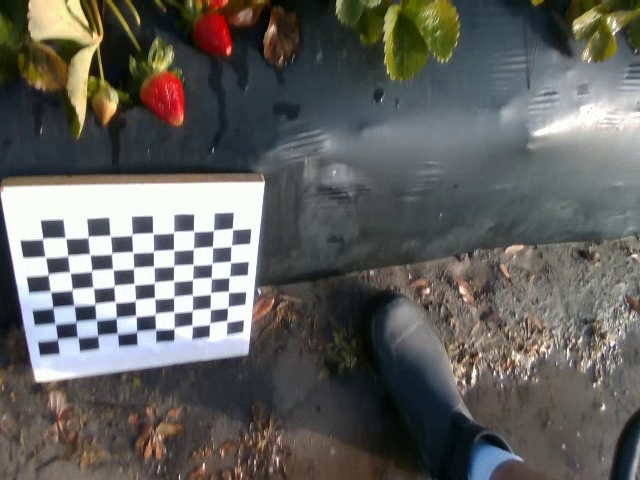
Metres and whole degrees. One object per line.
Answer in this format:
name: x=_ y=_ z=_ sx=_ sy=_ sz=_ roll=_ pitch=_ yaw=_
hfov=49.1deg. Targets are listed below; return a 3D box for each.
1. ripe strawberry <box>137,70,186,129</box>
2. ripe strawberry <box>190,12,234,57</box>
ripe strawberry: x=-0.165 y=-0.147 z=0.728 sx=0.050 sy=0.065 sz=0.049 roll=-35 pitch=-16 yaw=5
ripe strawberry: x=-0.118 y=-0.214 z=0.754 sx=0.055 sy=0.045 sz=0.041 roll=41 pitch=19 yaw=15
